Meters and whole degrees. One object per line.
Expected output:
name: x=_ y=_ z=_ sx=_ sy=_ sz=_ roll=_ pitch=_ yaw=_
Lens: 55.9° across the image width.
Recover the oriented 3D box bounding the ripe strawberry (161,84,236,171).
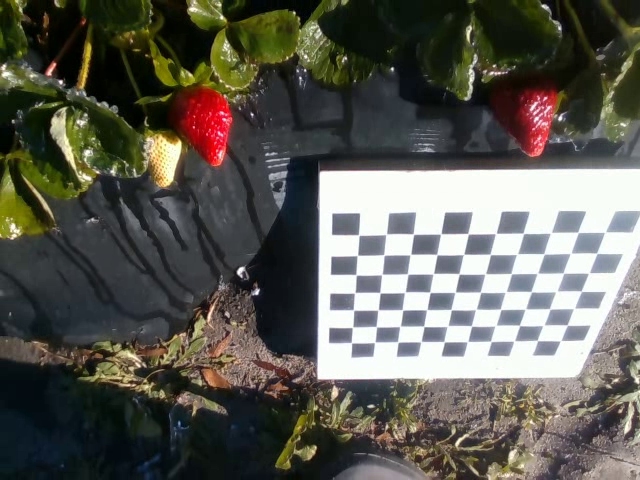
ripe strawberry: x=-0.081 y=-0.077 z=0.432 sx=0.043 sy=0.061 sz=0.046 roll=-11 pitch=-1 yaw=8

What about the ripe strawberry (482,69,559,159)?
ripe strawberry: x=0.148 y=-0.085 z=0.424 sx=0.049 sy=0.061 sz=0.044 roll=-6 pitch=9 yaw=3
